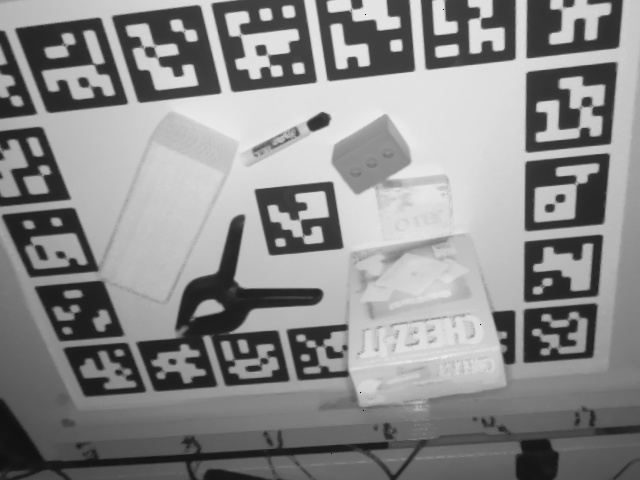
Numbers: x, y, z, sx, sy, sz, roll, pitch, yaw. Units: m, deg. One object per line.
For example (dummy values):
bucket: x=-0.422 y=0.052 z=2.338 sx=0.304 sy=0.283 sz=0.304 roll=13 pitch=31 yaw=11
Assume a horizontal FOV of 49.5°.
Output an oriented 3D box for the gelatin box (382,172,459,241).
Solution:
gelatin box: x=0.124 y=-0.041 z=0.856 sx=0.089 sy=0.030 sz=0.073 roll=-6 pitch=116 yaw=6

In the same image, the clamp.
clamp: x=-0.114 y=0.075 z=0.920 sx=0.201 sy=0.037 sz=0.166 roll=-34 pitch=111 yaw=18

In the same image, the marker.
marker: x=-0.020 y=-0.127 z=0.817 sx=0.120 sy=0.020 sz=0.019 roll=-24 pitch=113 yaw=14

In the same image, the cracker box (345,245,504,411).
cracker box: x=0.118 y=0.095 z=0.816 sx=0.163 sy=0.215 sz=0.071 roll=-8 pitch=119 yaw=9

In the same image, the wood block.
wood block: x=-0.174 y=-0.041 z=0.834 sx=0.090 sy=0.092 sz=0.203 roll=25 pitch=119 yaw=-13

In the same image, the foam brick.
foam brick: x=0.072 y=-0.102 z=0.810 sx=0.077 sy=0.052 sz=0.053 roll=-28 pitch=112 yaw=16
